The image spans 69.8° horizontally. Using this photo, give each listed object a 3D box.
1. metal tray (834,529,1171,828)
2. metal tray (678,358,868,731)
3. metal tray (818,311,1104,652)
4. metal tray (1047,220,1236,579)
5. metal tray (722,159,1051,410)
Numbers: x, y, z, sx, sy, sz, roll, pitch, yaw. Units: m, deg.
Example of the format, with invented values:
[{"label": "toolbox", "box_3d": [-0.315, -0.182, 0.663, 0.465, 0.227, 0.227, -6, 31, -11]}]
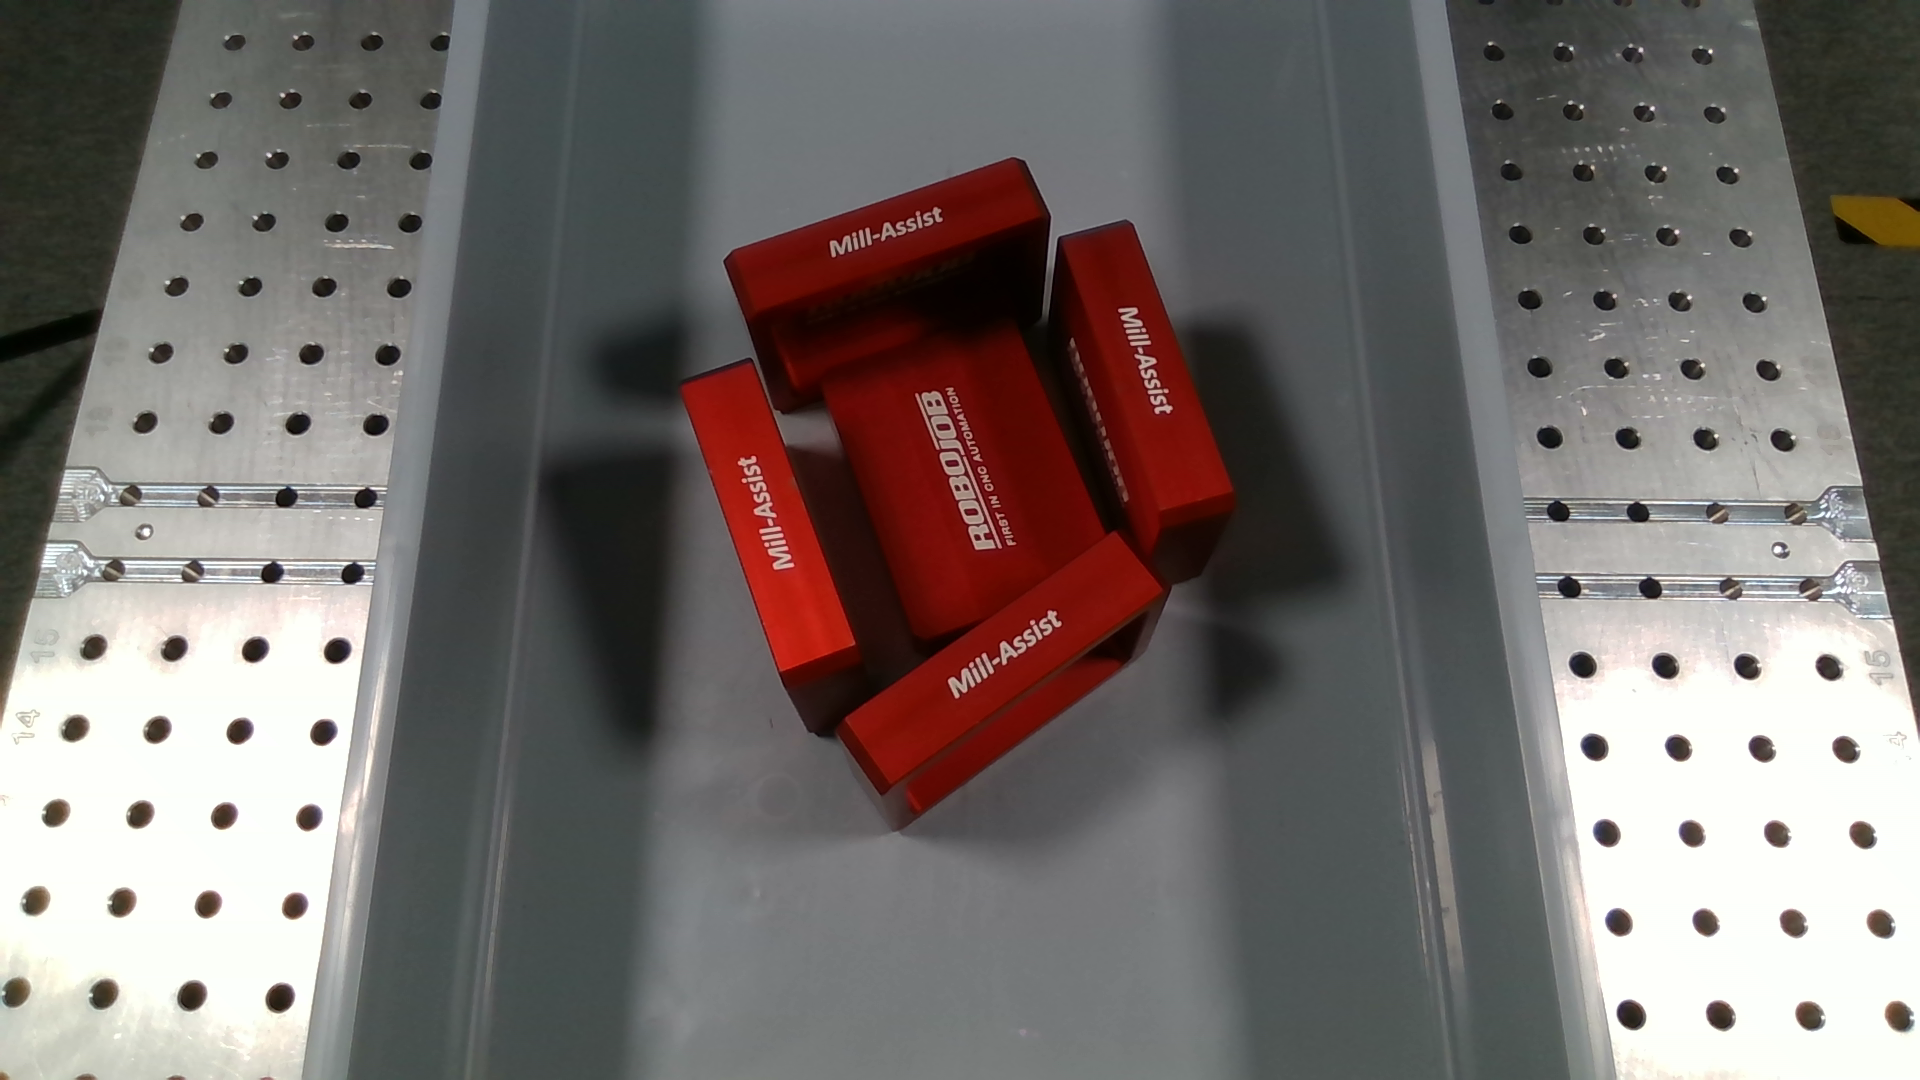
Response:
[{"label": "metal tray", "box_3d": [0.017, 0.057, 0.532, 0.130, 0.090, 0.030, -34, 73, -11]}, {"label": "metal tray", "box_3d": [-0.072, 0.005, 0.550, 0.030, 0.090, 0.130, -20, 71, -7]}, {"label": "metal tray", "box_3d": [0.002, -0.025, 0.592, 0.090, 0.030, 0.130, -19, 71, -7]}, {"label": "metal tray", "box_3d": [0.071, -0.054, 0.571, 0.030, 0.090, 0.130, -15, 71, -5]}, {"label": "metal tray", "box_3d": [-0.029, -0.107, 0.590, 0.130, 0.090, 0.030, -20, 71, -7]}]
